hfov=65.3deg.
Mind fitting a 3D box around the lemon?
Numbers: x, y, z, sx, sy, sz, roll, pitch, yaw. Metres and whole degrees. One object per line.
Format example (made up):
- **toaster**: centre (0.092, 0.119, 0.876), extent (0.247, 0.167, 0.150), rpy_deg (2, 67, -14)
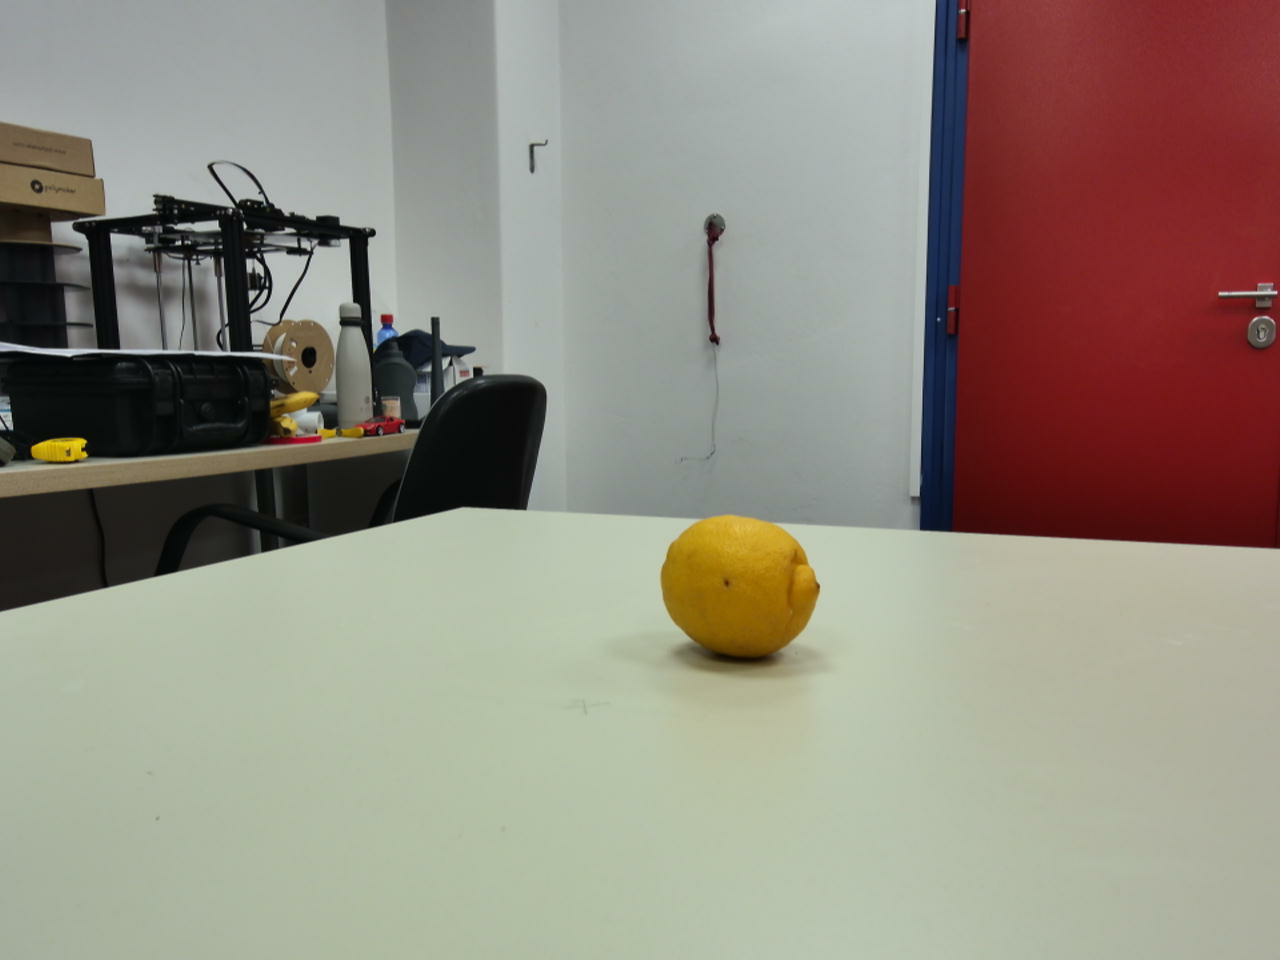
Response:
- **lemon**: centre (0.042, 0.046, 0.432), extent (0.061, 0.059, 0.067), rpy_deg (-1, 4, -23)
